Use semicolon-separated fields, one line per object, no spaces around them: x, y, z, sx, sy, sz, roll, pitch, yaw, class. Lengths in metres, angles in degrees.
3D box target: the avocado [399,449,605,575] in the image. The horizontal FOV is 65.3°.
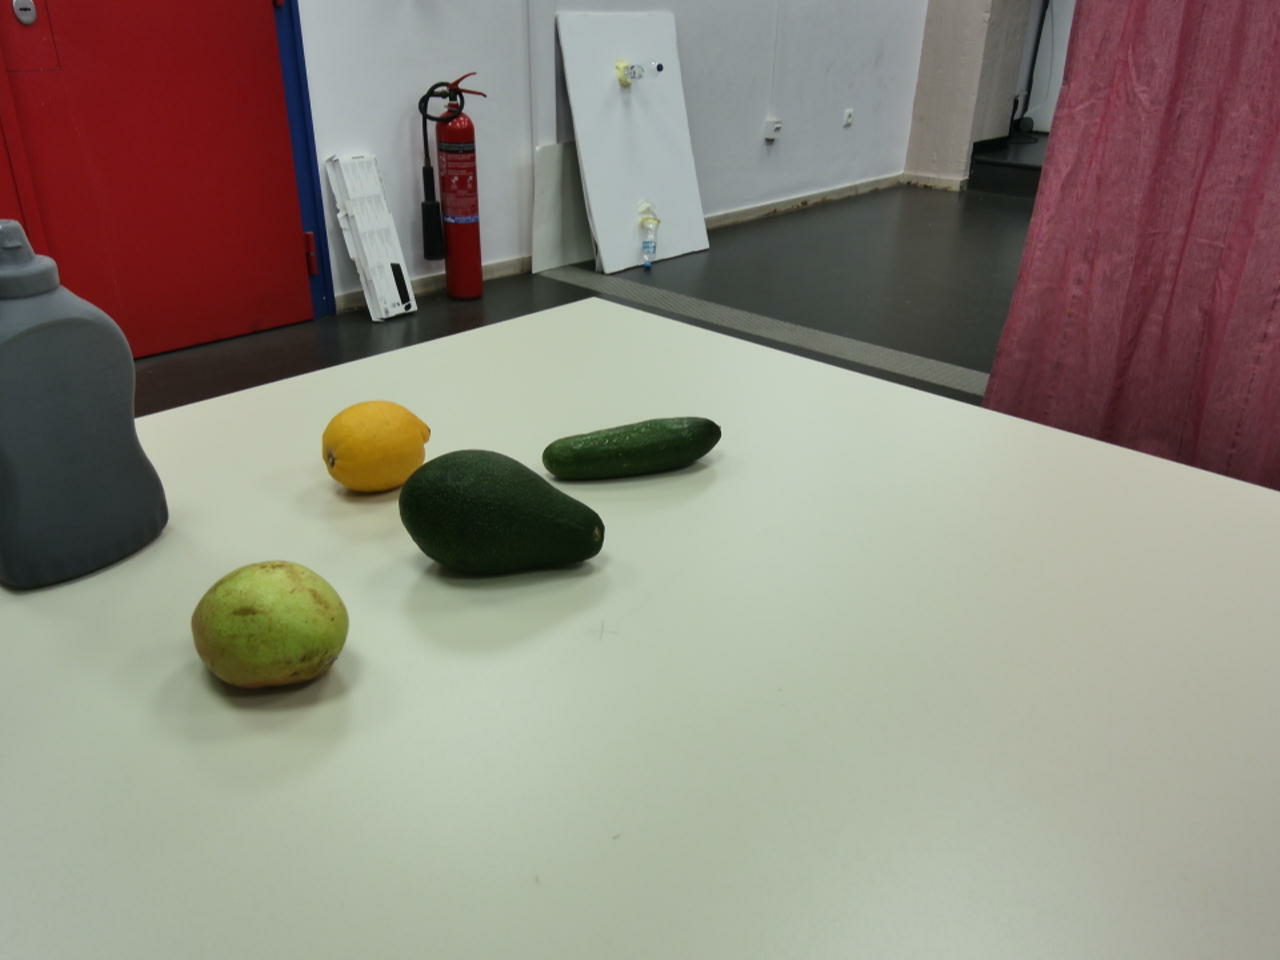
-0.081;0.019;0.569;0.110;0.071;0.072;9;26;17;avocado
